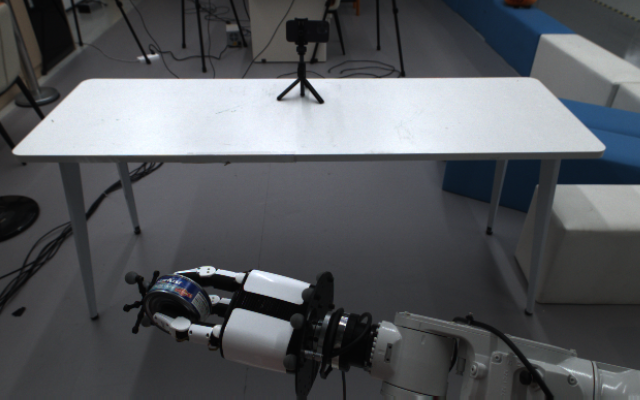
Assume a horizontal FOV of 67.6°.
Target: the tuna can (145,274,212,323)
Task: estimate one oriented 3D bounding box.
[{"bbox_3d":[-0.188,0.142,0.647,0.085,0.085,0.034,9,34,10],"label":"tuna can"}]
